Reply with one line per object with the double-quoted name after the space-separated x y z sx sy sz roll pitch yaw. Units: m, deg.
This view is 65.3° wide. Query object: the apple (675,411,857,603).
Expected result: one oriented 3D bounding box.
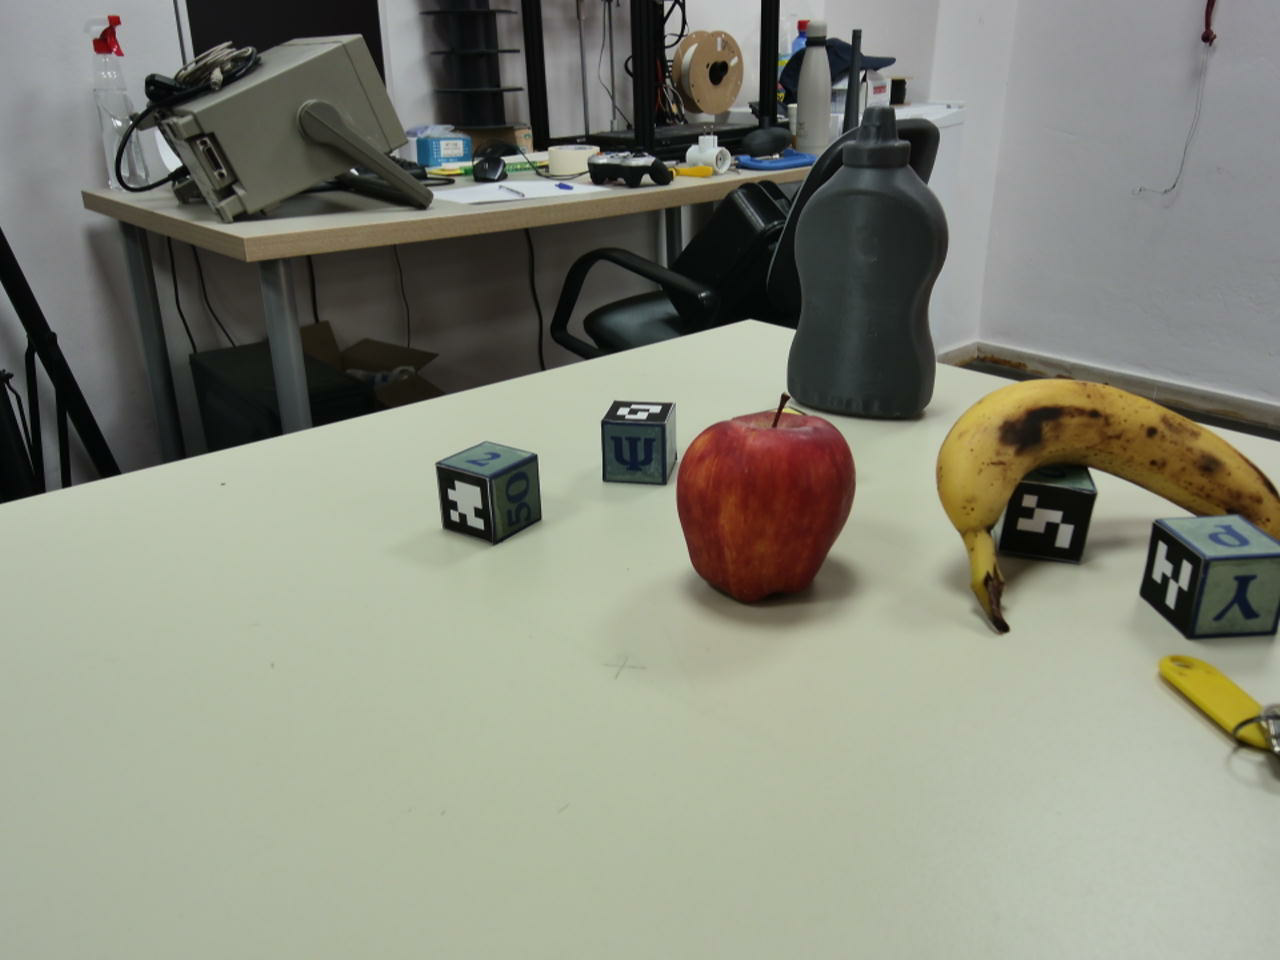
0.058 0.004 0.452 0.083 0.090 0.083 1 22 0 "apple"
